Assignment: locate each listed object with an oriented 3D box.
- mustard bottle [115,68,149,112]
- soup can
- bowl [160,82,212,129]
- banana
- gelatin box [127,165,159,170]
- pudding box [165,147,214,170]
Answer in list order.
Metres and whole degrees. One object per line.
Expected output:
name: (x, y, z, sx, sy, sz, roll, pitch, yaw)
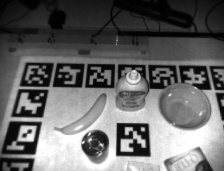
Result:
mustard bottle: (0.058, 0.014, 0.626, 0.096, 0.192, 0.058, 0, 58, 1)
soup can: (-0.050, 0.169, 0.594, 0.068, 0.102, 0.067, 1, 59, -1)
bowl: (0.230, 0.070, 0.690, 0.161, 0.055, 0.161, 0, 60, 1)
banana: (-0.088, 0.091, 0.683, 0.073, 0.039, 0.198, 35, 66, 29)
gelatin box: (0.082, 0.263, 0.594, 0.089, 0.030, 0.073, 6, 64, 4)
pudding box: (0.218, 0.237, 0.603, 0.114, 0.039, 0.089, -21, 69, -11)
